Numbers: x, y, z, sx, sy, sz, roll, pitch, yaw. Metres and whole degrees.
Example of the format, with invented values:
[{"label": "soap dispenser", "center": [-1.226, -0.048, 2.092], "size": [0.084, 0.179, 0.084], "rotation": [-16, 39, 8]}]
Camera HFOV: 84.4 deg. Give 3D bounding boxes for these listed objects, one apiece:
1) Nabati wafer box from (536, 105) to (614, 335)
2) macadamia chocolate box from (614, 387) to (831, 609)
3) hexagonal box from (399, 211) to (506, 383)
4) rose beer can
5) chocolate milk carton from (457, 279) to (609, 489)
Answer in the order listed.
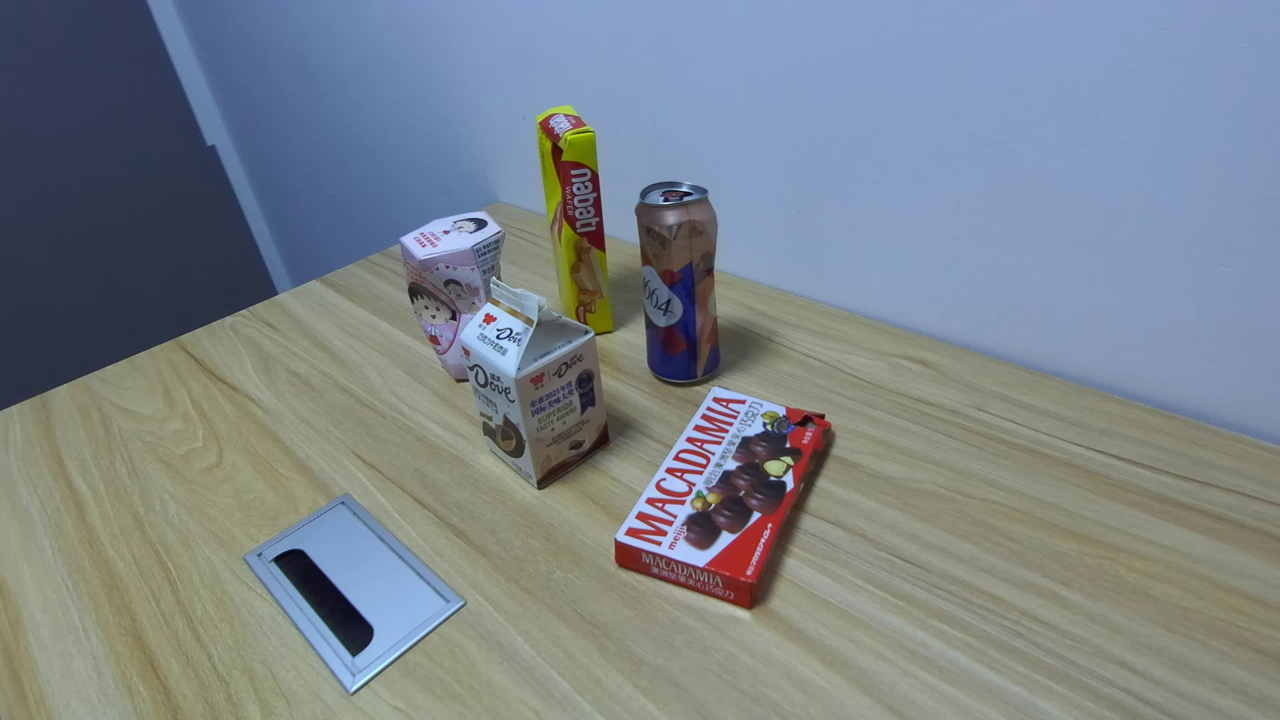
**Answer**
[{"label": "Nabati wafer box", "center": [-0.061, -0.127, 0.677], "size": [0.042, 0.204, 0.096], "rotation": [-10, 35, -9]}, {"label": "macadamia chocolate box", "center": [0.067, 0.083, 0.501], "size": [0.102, 0.027, 0.187], "rotation": [13, 39, 22]}, {"label": "hexagonal box", "center": [-0.160, -0.057, 0.654], "size": [0.088, 0.135, 0.093], "rotation": [6, 35, 19]}, {"label": "rose beer can", "center": [0.035, -0.061, 0.594], "size": [0.065, 0.167, 0.075], "rotation": [-10, 31, -8]}, {"label": "chocolate milk carton", "center": [-0.079, 0.009, 0.527], "size": [0.074, 0.148, 0.075], "rotation": [-31, 42, -30]}]
